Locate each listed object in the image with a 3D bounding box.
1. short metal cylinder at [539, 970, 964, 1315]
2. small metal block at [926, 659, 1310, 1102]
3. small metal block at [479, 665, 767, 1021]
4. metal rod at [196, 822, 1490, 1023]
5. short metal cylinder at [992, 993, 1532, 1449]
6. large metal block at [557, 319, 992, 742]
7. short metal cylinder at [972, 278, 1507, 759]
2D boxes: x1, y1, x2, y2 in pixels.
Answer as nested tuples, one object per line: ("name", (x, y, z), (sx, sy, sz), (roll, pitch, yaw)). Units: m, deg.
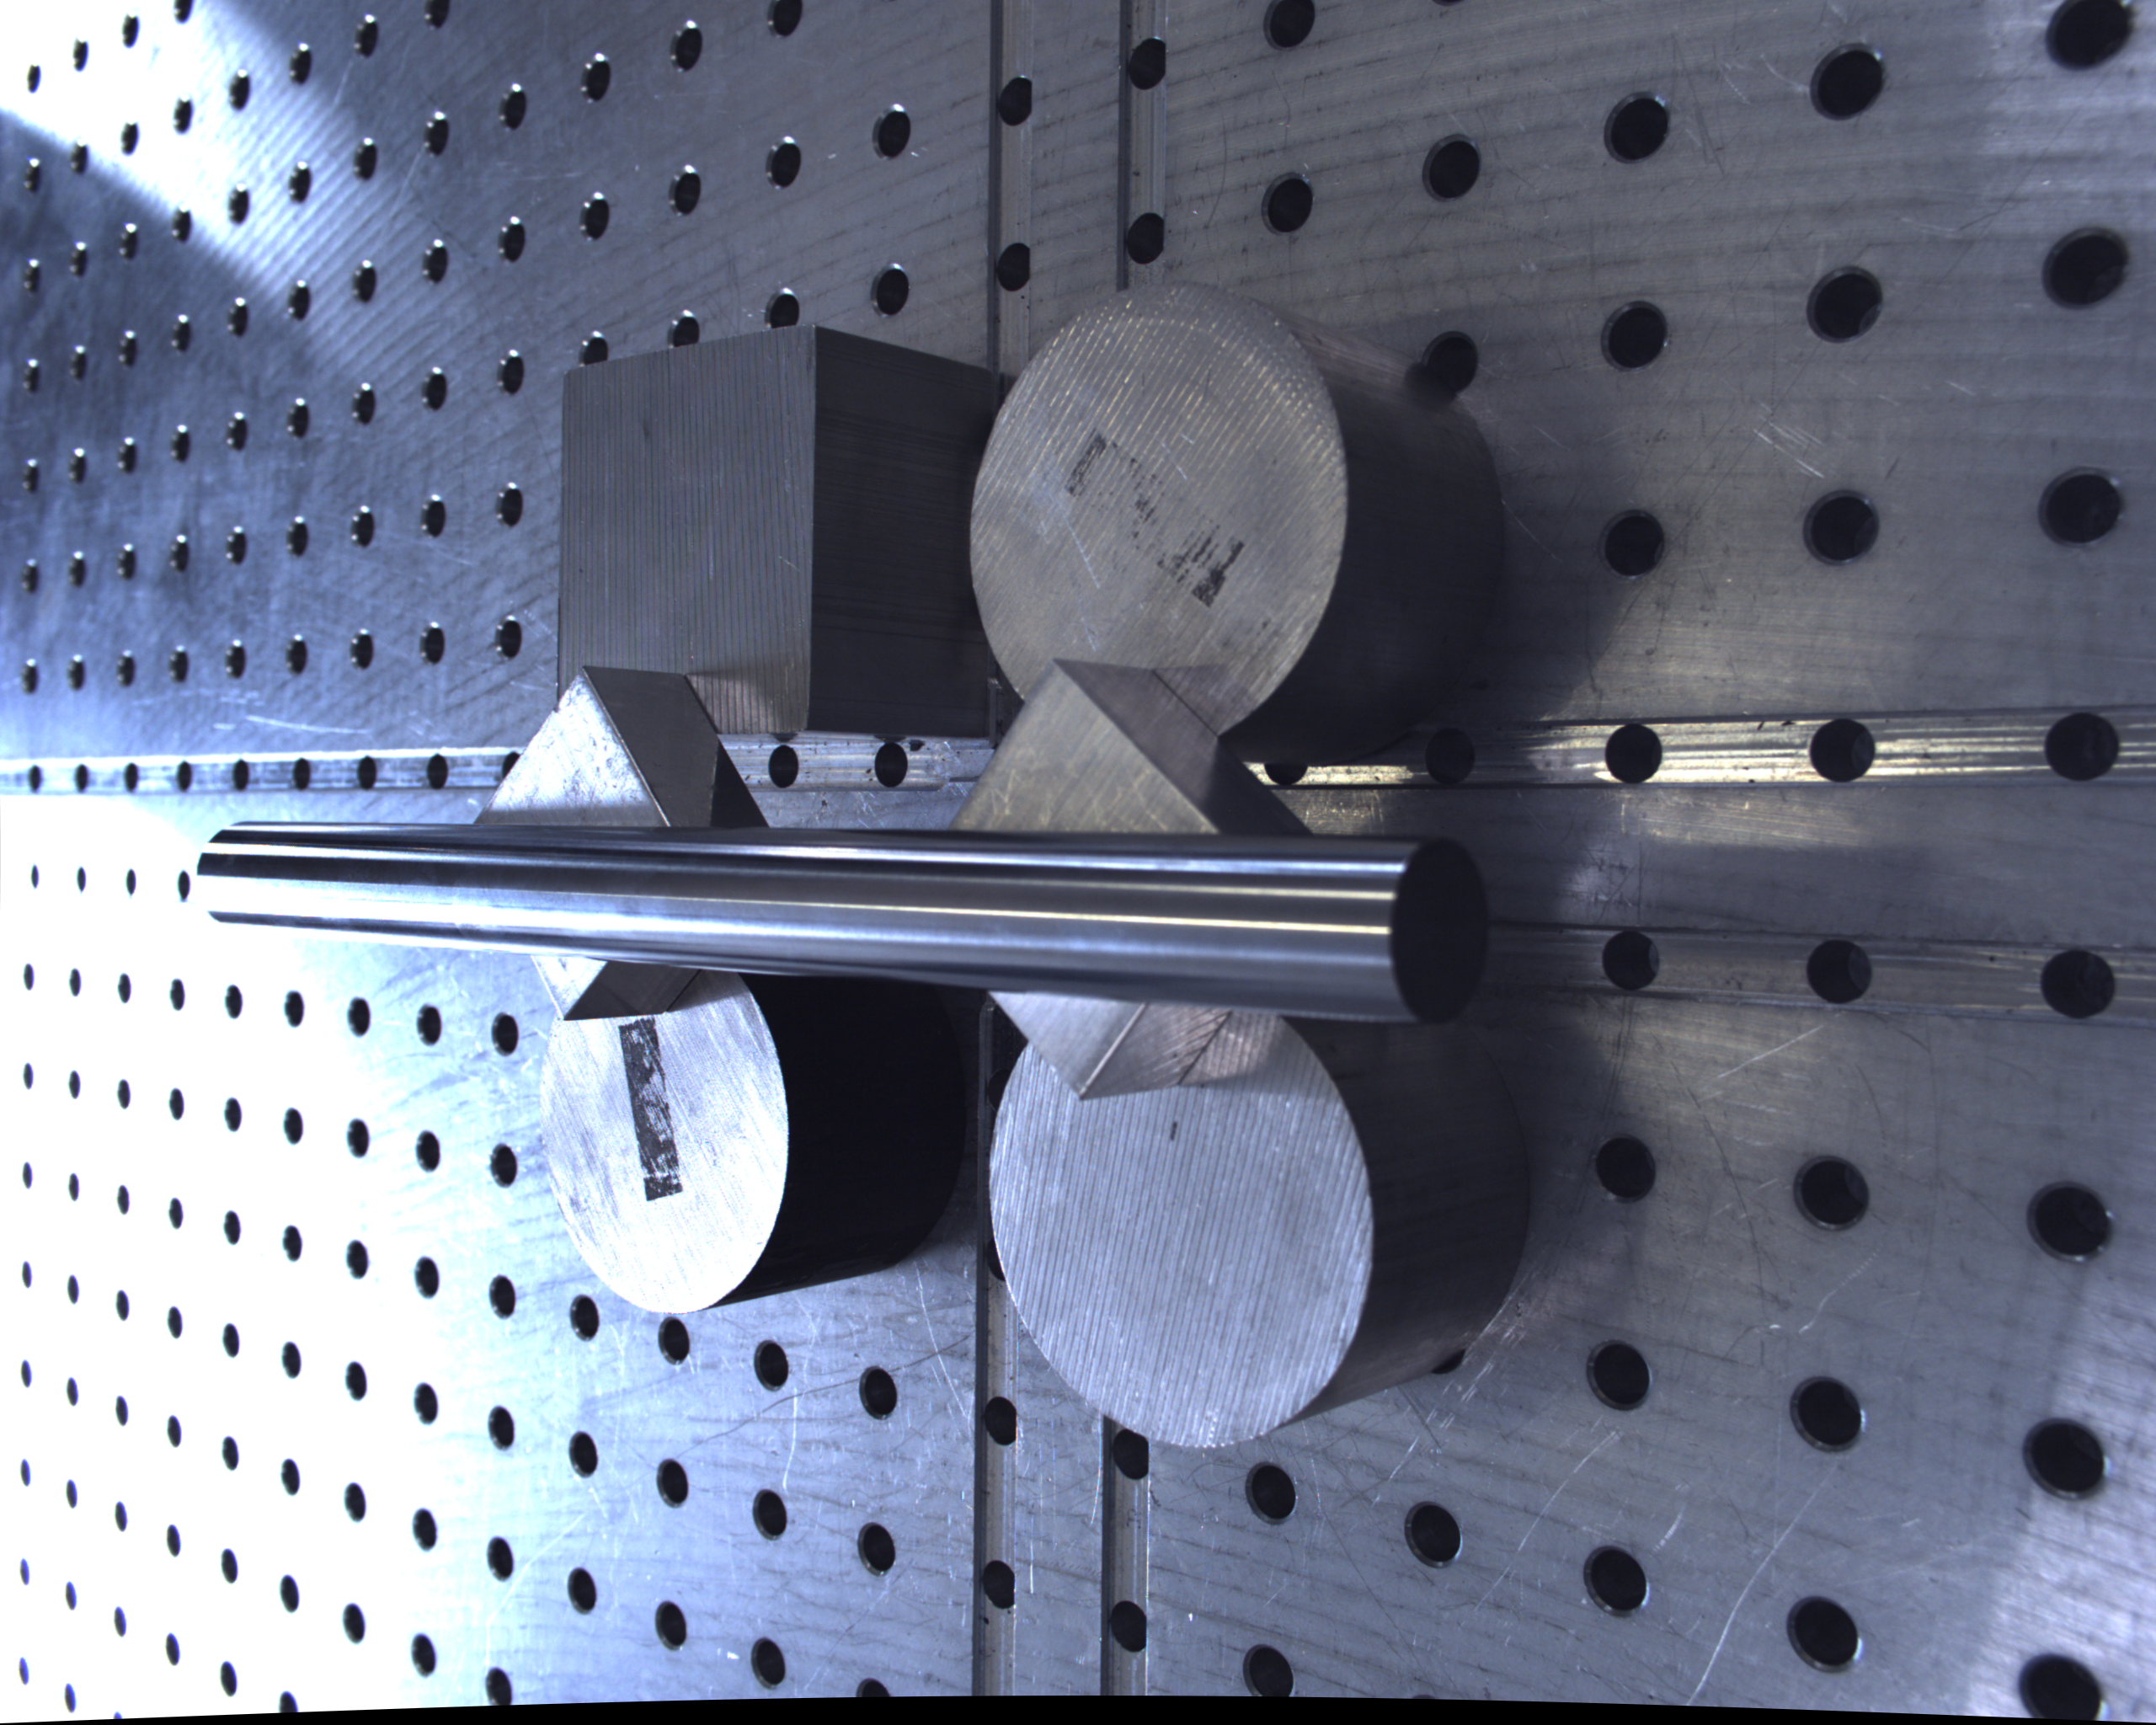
("short metal cylinder", (-0.071, 0.053, 0.451), (0.080, 0.050, 0.080), (0, 90, 40))
("small metal block", (0.007, 0.003, 0.339), (0.050, 0.025, 0.050), (48, 118, 29))
("small metal block", (-0.091, -0.004, 0.420), (0.050, 0.025, 0.050), (-47, 62, 29))
("metal rod", (-0.068, 0.006, 0.367), (0.300, 0.025, 0.025), (1, 91, 40))
("short metal cylinder", (0.032, 0.057, 0.367), (0.080, 0.050, 0.080), (0, 90, 40))
("large metal block", (-0.066, -0.066, 0.447), (0.080, 0.050, 0.079), (2, 91, 40))
("short metal cylinder", (0.028, -0.058, 0.370), (0.080, 0.050, 0.080), (0, 90, 40))
